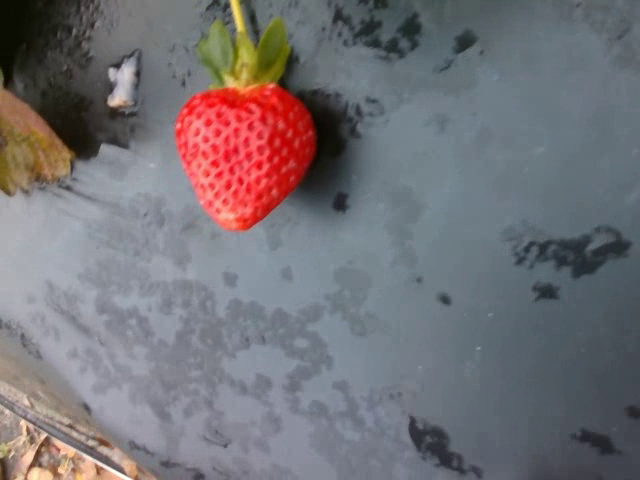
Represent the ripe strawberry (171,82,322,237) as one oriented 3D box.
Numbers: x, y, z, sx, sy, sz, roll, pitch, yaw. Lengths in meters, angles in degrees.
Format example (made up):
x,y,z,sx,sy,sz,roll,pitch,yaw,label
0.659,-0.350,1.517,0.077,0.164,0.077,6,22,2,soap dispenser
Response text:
x,y,z,sx,sy,sz,roll,pitch,yaw,label
-0.023,-0.025,0.200,0.048,0.054,0.045,19,-21,-38,ripe strawberry
